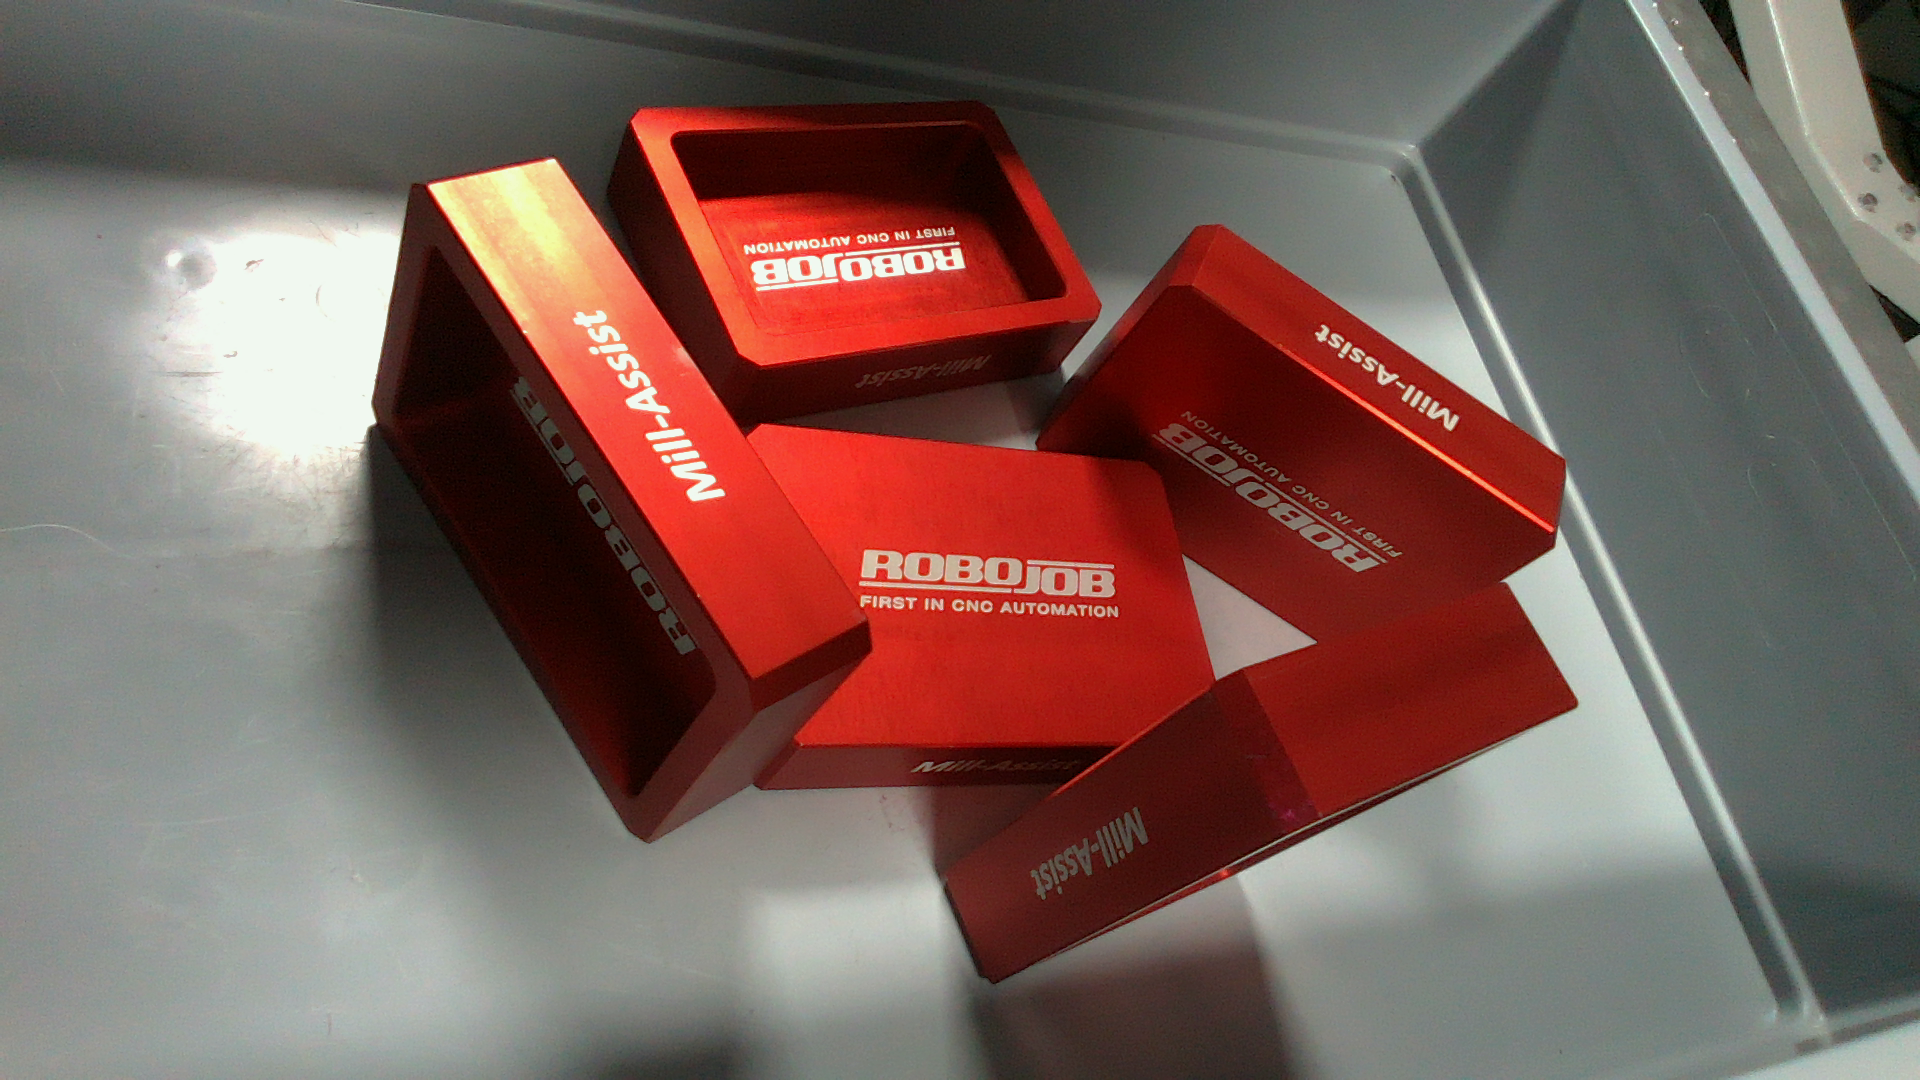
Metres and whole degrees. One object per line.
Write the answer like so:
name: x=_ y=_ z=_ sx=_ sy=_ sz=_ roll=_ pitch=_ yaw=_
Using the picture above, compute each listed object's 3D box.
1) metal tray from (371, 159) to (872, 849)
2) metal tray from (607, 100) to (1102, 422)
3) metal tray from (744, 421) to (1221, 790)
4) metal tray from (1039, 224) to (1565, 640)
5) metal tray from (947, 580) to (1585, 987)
metal tray: x=-0.081 y=-0.005 z=0.306 sx=0.030 sy=0.090 sz=0.130 roll=-27 pitch=77 yaw=-38
metal tray: x=-0.030 y=-0.090 z=0.423 sx=0.130 sy=0.030 sz=0.090 roll=-14 pitch=69 yaw=-34
metal tray: x=0.004 y=0.018 z=0.374 sx=0.130 sy=0.030 sz=0.090 roll=3 pitch=60 yaw=-27
metal tray: x=0.100 y=-0.024 z=0.413 sx=0.130 sy=0.090 sz=0.030 roll=33 pitch=52 yaw=-7
metal tray: x=0.064 y=0.059 z=0.317 sx=0.090 sy=0.130 sz=0.030 roll=-13 pitch=69 yaw=-34
